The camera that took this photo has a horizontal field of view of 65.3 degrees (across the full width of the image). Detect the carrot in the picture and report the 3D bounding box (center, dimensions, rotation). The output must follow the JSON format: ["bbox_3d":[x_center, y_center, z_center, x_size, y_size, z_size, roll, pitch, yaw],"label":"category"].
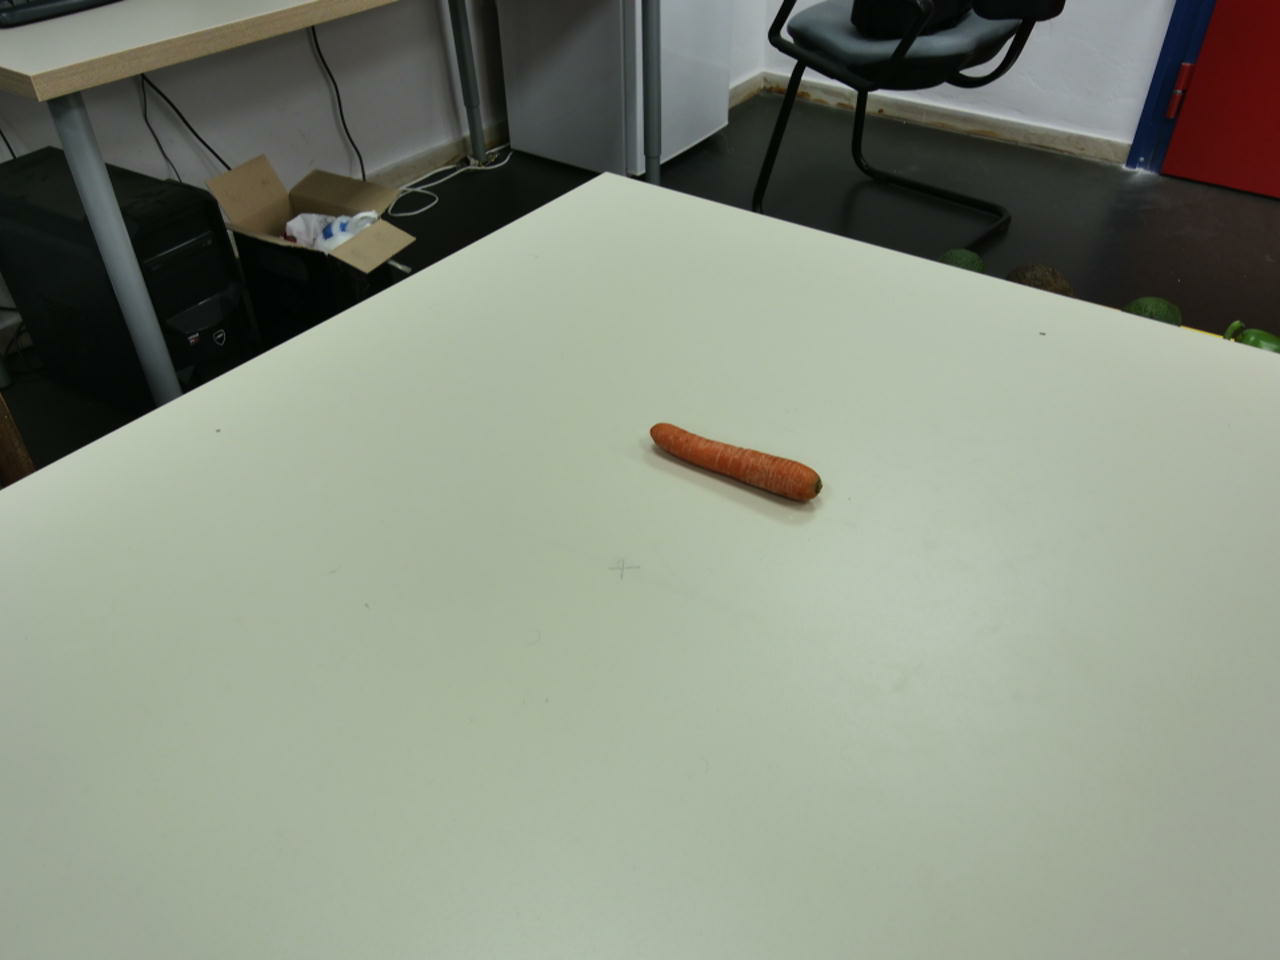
[{"bbox_3d":[0.058,-0.014,0.636,0.122,0.023,0.024,22,43,26],"label":"carrot"}]
